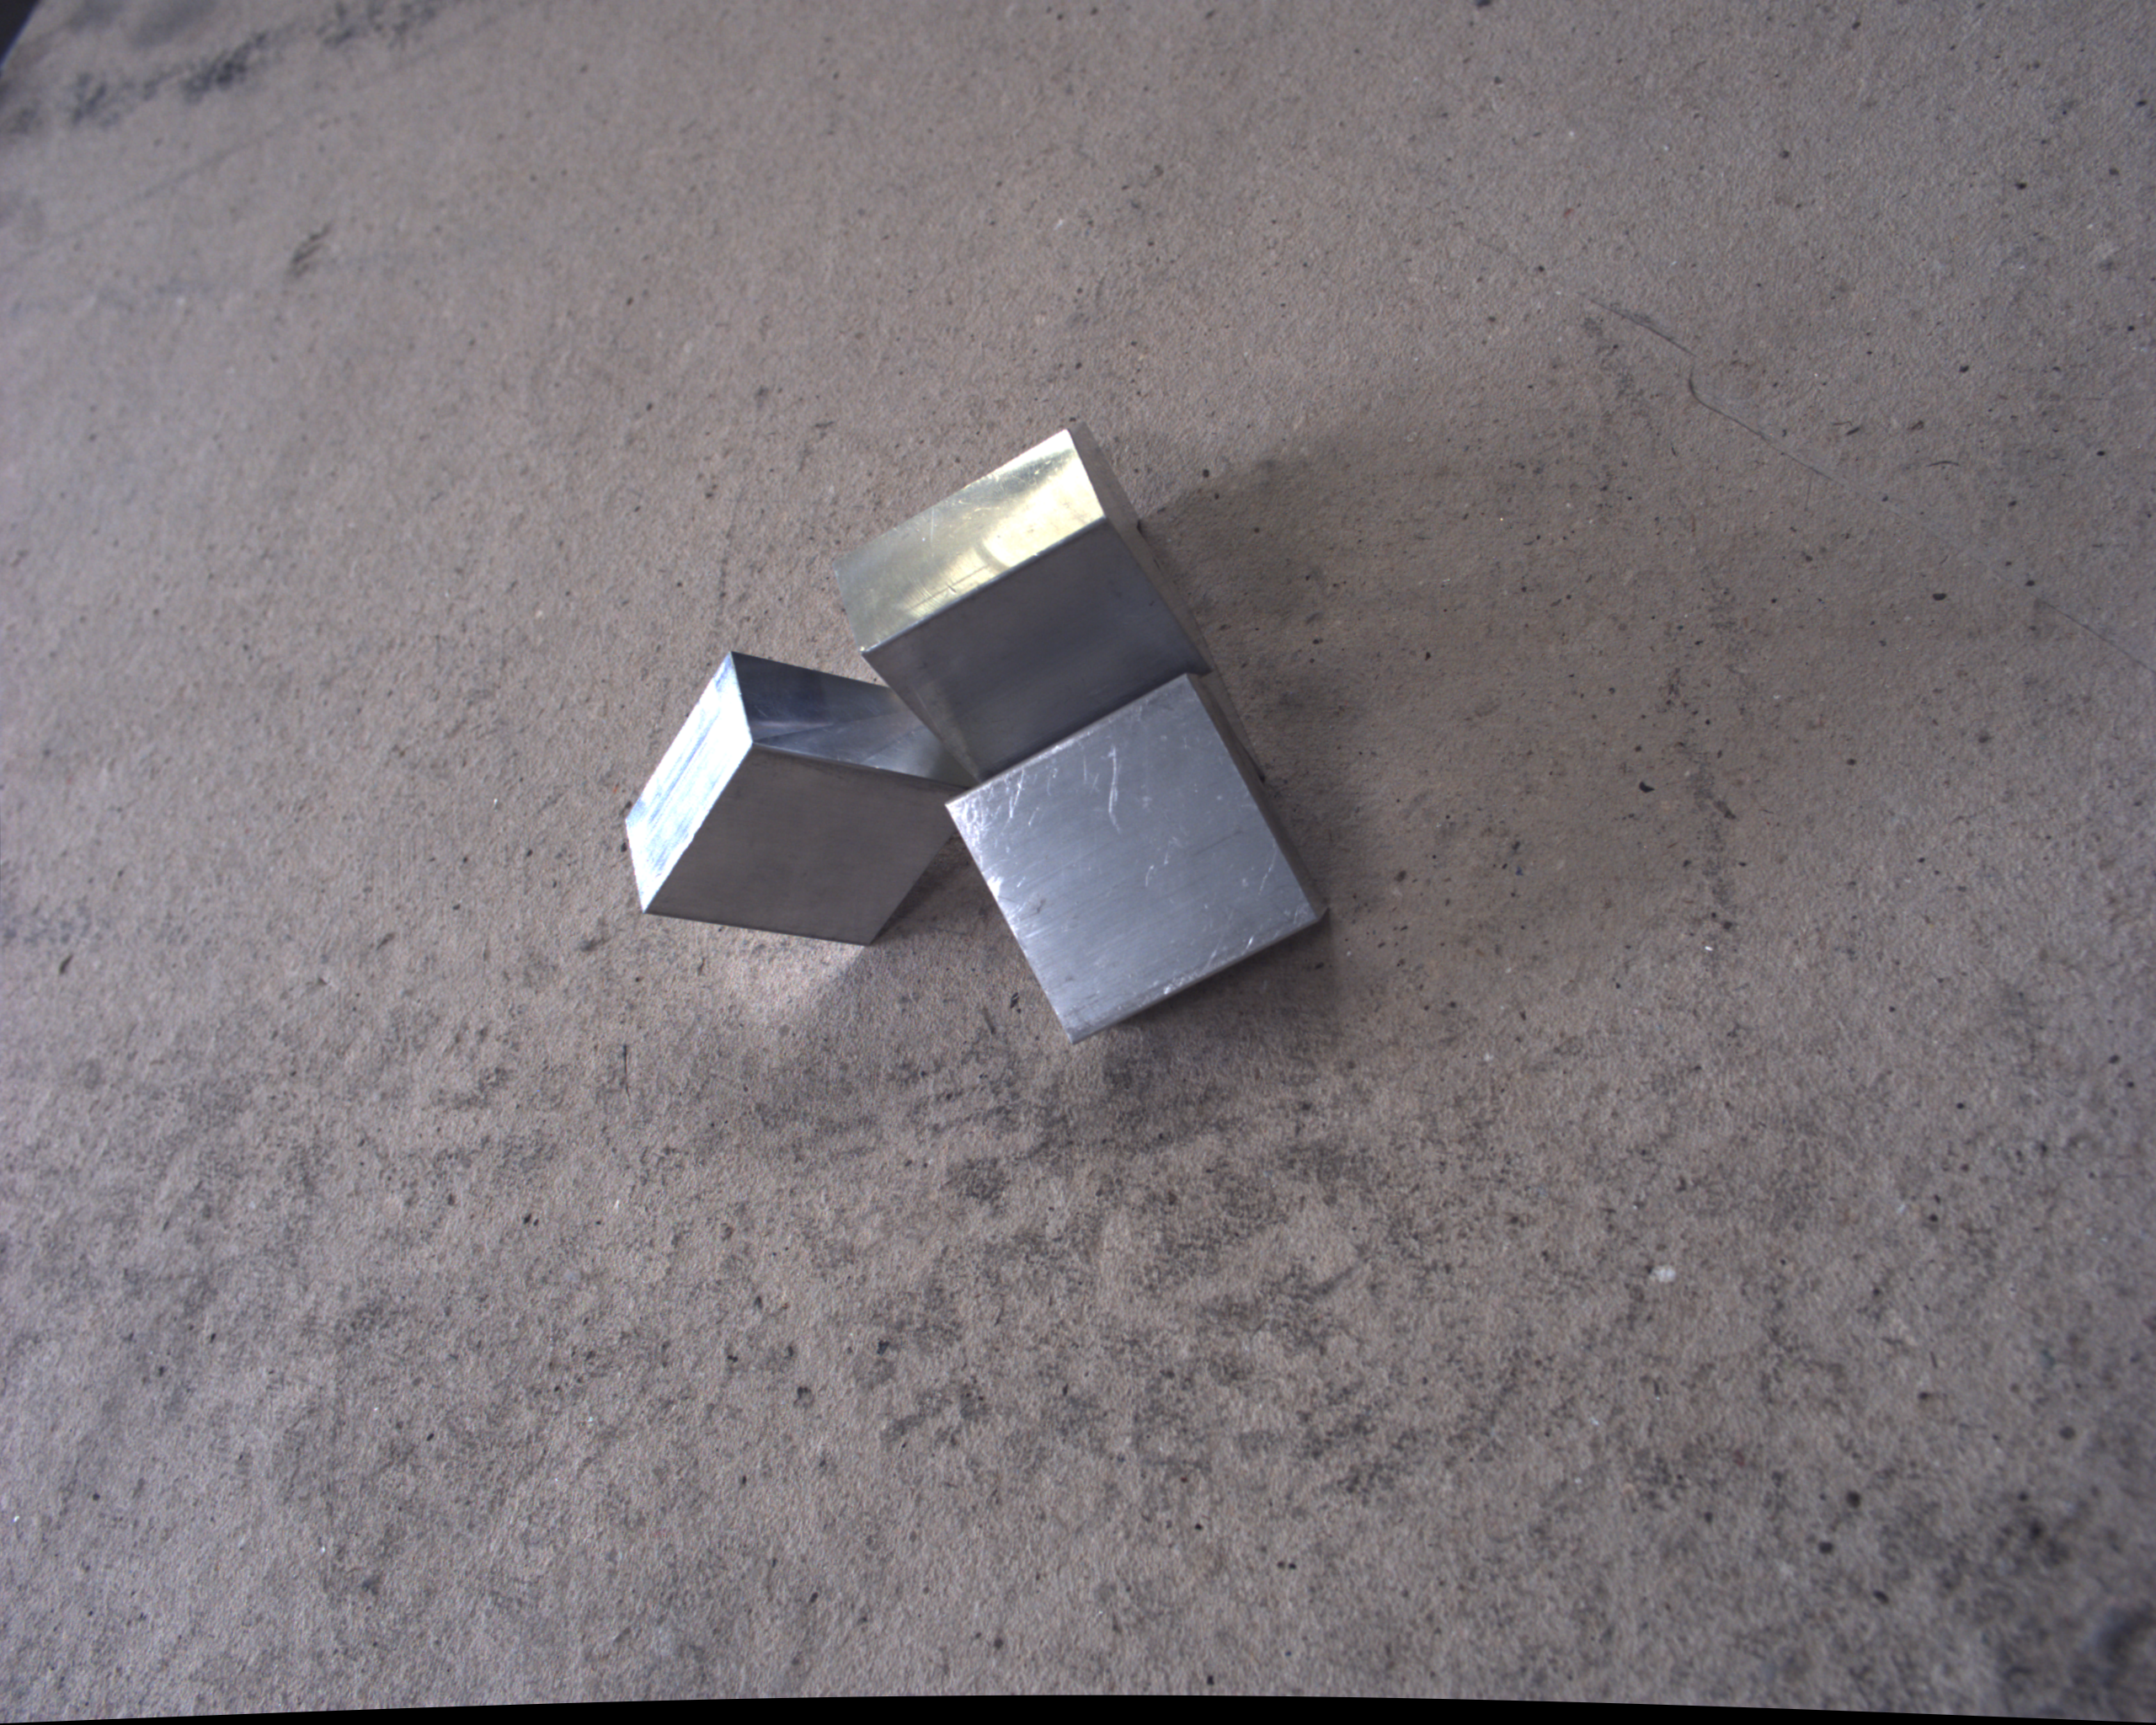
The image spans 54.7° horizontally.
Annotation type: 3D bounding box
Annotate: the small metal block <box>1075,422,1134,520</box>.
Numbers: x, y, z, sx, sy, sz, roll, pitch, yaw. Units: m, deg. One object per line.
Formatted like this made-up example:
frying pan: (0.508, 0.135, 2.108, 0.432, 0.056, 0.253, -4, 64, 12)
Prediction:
small metal block: (-0.016, -0.067, 0.439, 0.050, 0.025, 0.050, -28, 12, 11)

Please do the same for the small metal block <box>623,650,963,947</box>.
small metal block: (-0.055, -0.011, 0.413, 0.050, 0.050, 0.025, -51, 44, 35)

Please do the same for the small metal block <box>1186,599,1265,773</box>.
small metal block: (0.003, -0.030, 0.423, 0.050, 0.025, 0.050, -29, 52, 12)

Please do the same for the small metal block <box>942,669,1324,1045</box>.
small metal block: (0.011, -0.002, 0.384, 0.050, 0.025, 0.050, -29, 88, 10)

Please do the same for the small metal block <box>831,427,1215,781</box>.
small metal block: (-0.010, -0.046, 0.390, 0.050, 0.050, 0.025, -28, 53, 11)
